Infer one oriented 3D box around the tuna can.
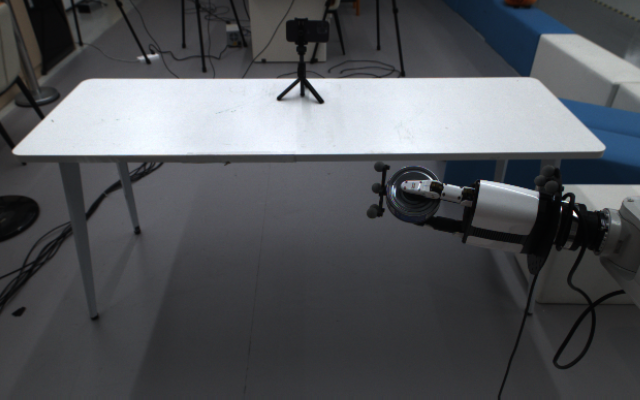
[{"bbox_3d":[0.148,-0.007,0.746,0.085,0.034,0.085,-2,69,5],"label":"tuna can"}]
